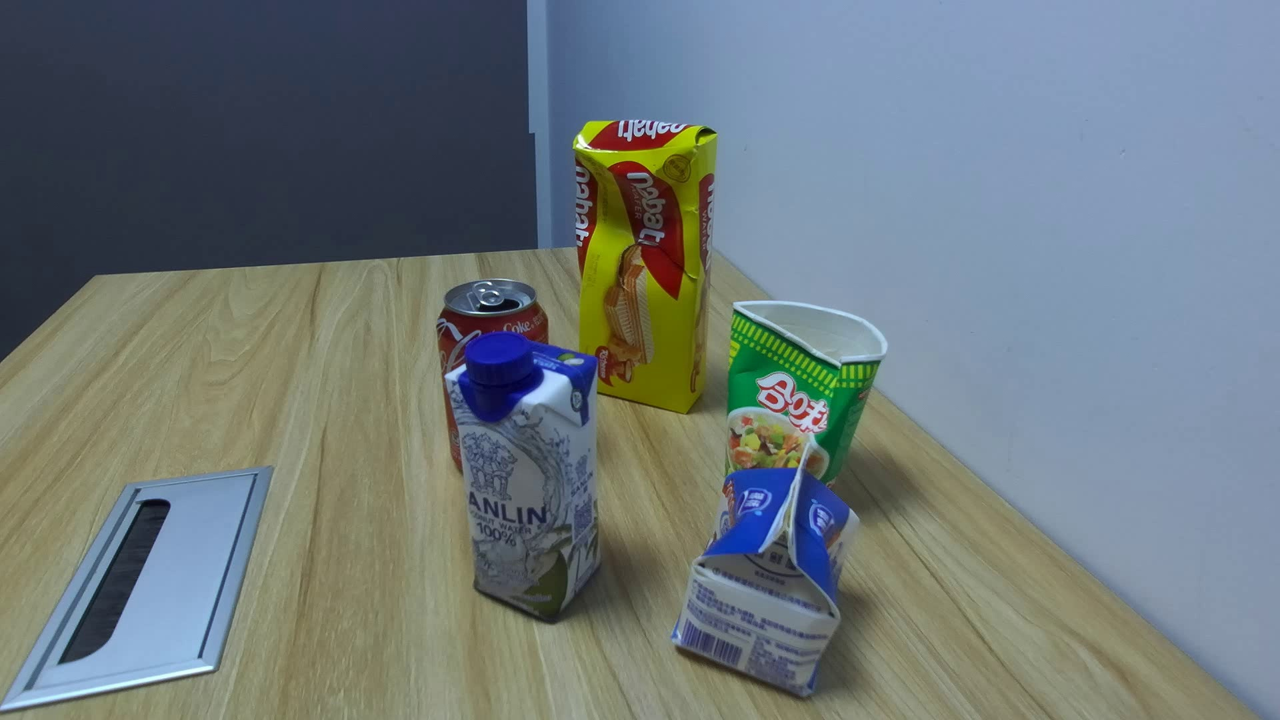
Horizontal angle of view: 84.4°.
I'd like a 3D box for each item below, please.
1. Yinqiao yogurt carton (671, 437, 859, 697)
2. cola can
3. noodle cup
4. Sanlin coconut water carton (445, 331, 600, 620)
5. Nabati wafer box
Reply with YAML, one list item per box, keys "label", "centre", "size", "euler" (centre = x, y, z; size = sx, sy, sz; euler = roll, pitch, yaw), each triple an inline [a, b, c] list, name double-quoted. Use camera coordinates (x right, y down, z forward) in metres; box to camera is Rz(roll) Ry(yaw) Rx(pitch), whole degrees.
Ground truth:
- label: "Yinqiao yogurt carton"
  centre: [0.063, 0.091, 0.331]
  size: [0.071, 0.094, 0.077]
  euler: [16, 30, 16]
- label: "cola can"
  centre: [-0.090, 0.012, 0.448]
  size: [0.068, 0.120, 0.068]
  euler: [1, 28, 0]
- label: "noodle cup"
  centre: [0.094, 0.031, 0.428]
  size: [0.075, 0.122, 0.082]
  euler: [4, 18, -13]
- label: "Sanlin coconut water carton"
  centre: [-0.053, 0.052, 0.346]
  size: [0.060, 0.144, 0.061]
  euler: [13, 28, 25]
- label: "Nabati wafer box"
  centre: [-0.001, -0.066, 0.508]
  size: [0.106, 0.204, 0.042]
  euler: [13, 30, 21]
